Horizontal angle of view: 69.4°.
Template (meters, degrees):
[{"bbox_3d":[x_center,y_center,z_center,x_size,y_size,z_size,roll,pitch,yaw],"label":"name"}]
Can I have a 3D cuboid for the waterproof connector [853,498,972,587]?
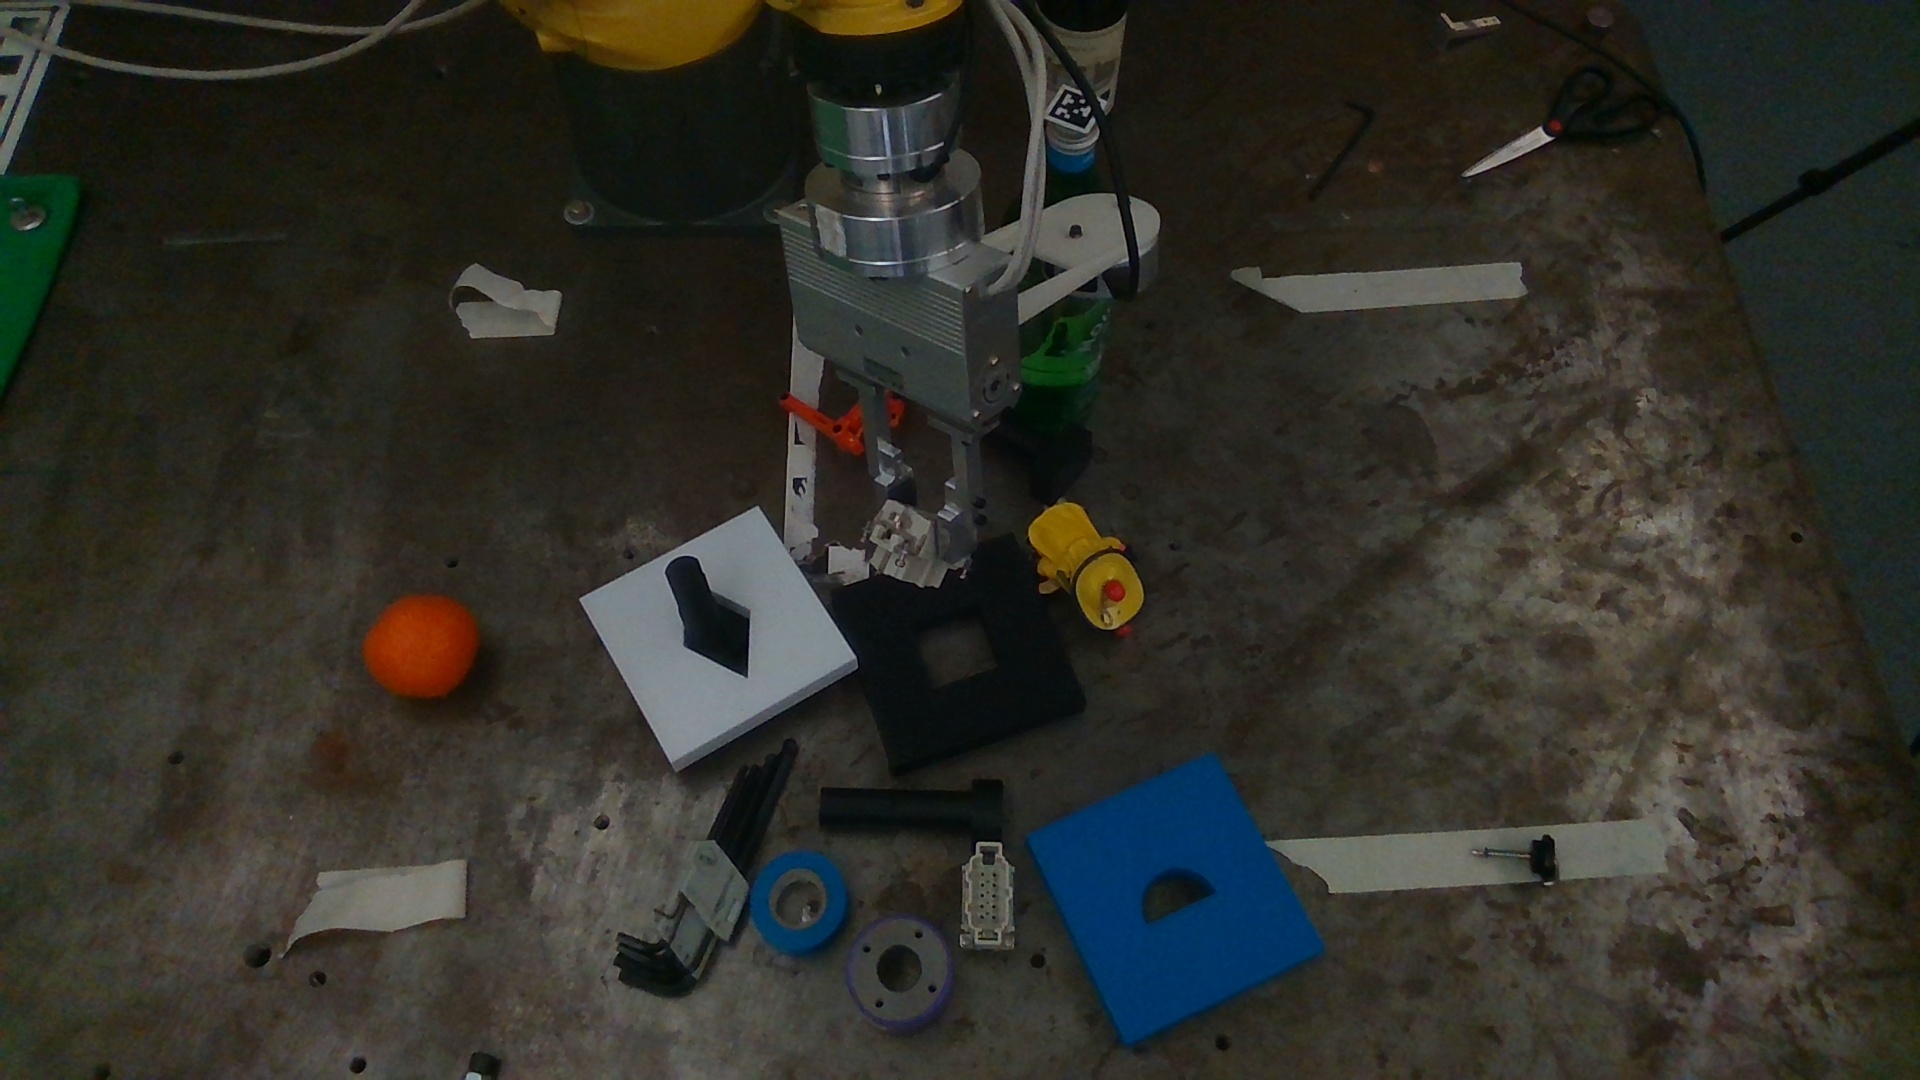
[{"bbox_3d":[-0.025,0.003,0.761,0.037,0.069,0.038,26,96,36],"label":"waterproof connector"}]
